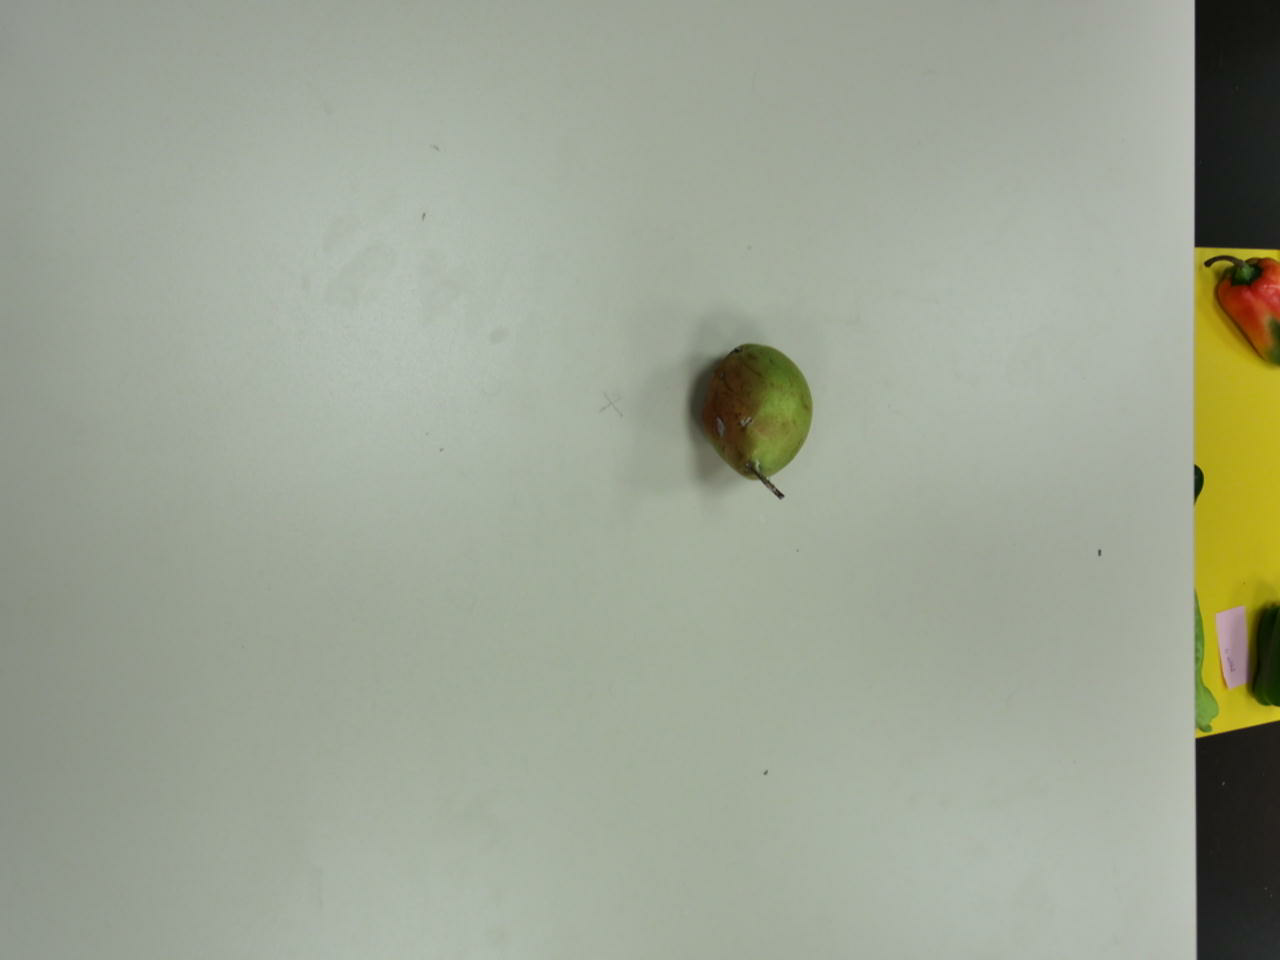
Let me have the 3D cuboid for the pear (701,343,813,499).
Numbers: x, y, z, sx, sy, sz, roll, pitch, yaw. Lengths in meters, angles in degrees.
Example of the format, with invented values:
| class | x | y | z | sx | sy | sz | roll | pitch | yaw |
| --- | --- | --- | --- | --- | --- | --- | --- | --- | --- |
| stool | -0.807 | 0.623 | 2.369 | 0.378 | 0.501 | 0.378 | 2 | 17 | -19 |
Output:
| class | x | y | z | sx | sy | sz | roll | pitch | yaw |
| --- | --- | --- | --- | --- | --- | --- | --- | --- | --- |
| pear | 0.065 | -0.038 | 0.558 | 0.070 | 0.069 | 0.068 | -41 | 105 | -17 |
